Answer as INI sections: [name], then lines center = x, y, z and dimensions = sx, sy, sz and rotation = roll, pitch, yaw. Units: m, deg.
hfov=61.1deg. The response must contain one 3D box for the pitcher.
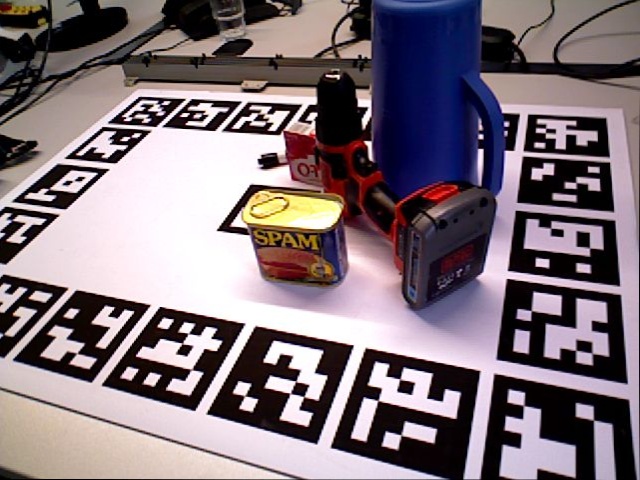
[pitcher]
center = 0.131, -0.144, 0.580
dimensions = 0.131, 0.246, 0.189
rotation = -34, 40, -21

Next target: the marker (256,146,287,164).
[marker]
center = -0.028, -0.125, 0.748
dimensions = 0.120, 0.020, 0.019
rotation = -11, 42, 1

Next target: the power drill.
[power drill]
center = 0.056, -0.066, 0.543
dimensions = 0.056, 0.188, 0.186
rotation = -32, 52, -21

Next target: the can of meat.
[can of meat]
center = -0.023, 0.002, 0.554
dimensions = 0.102, 0.085, 0.056
rotation = 7, 42, 18

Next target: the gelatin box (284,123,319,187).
[gelatin box]
center = 0.003, -0.101, 0.678
dimensions = 0.090, 0.074, 0.029
rotation = 17, 51, 25
